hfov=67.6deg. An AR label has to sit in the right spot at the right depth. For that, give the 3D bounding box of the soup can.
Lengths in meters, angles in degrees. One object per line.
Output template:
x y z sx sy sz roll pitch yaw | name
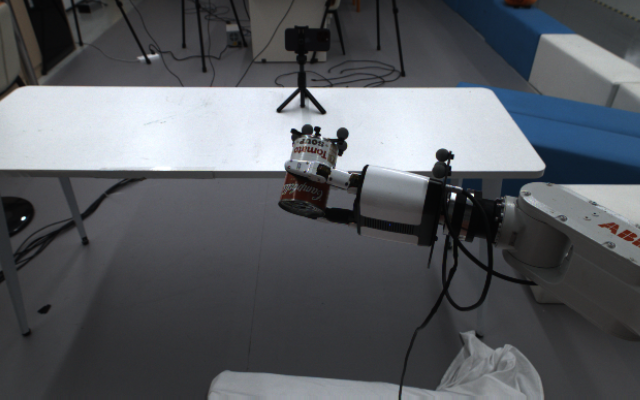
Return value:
-0.015 -0.034 0.691 0.067 0.067 0.101 9 72 10 | soup can
